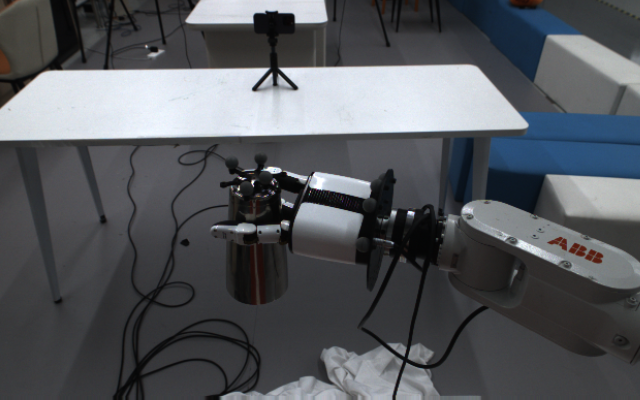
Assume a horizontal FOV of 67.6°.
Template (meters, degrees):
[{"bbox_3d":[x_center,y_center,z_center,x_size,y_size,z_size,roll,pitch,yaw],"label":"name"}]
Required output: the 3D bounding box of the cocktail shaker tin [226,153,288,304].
[{"bbox_3d":[-0.087,0.048,0.675,0.093,0.170,0.093,2,33,-2],"label":"cocktail shaker tin"}]
